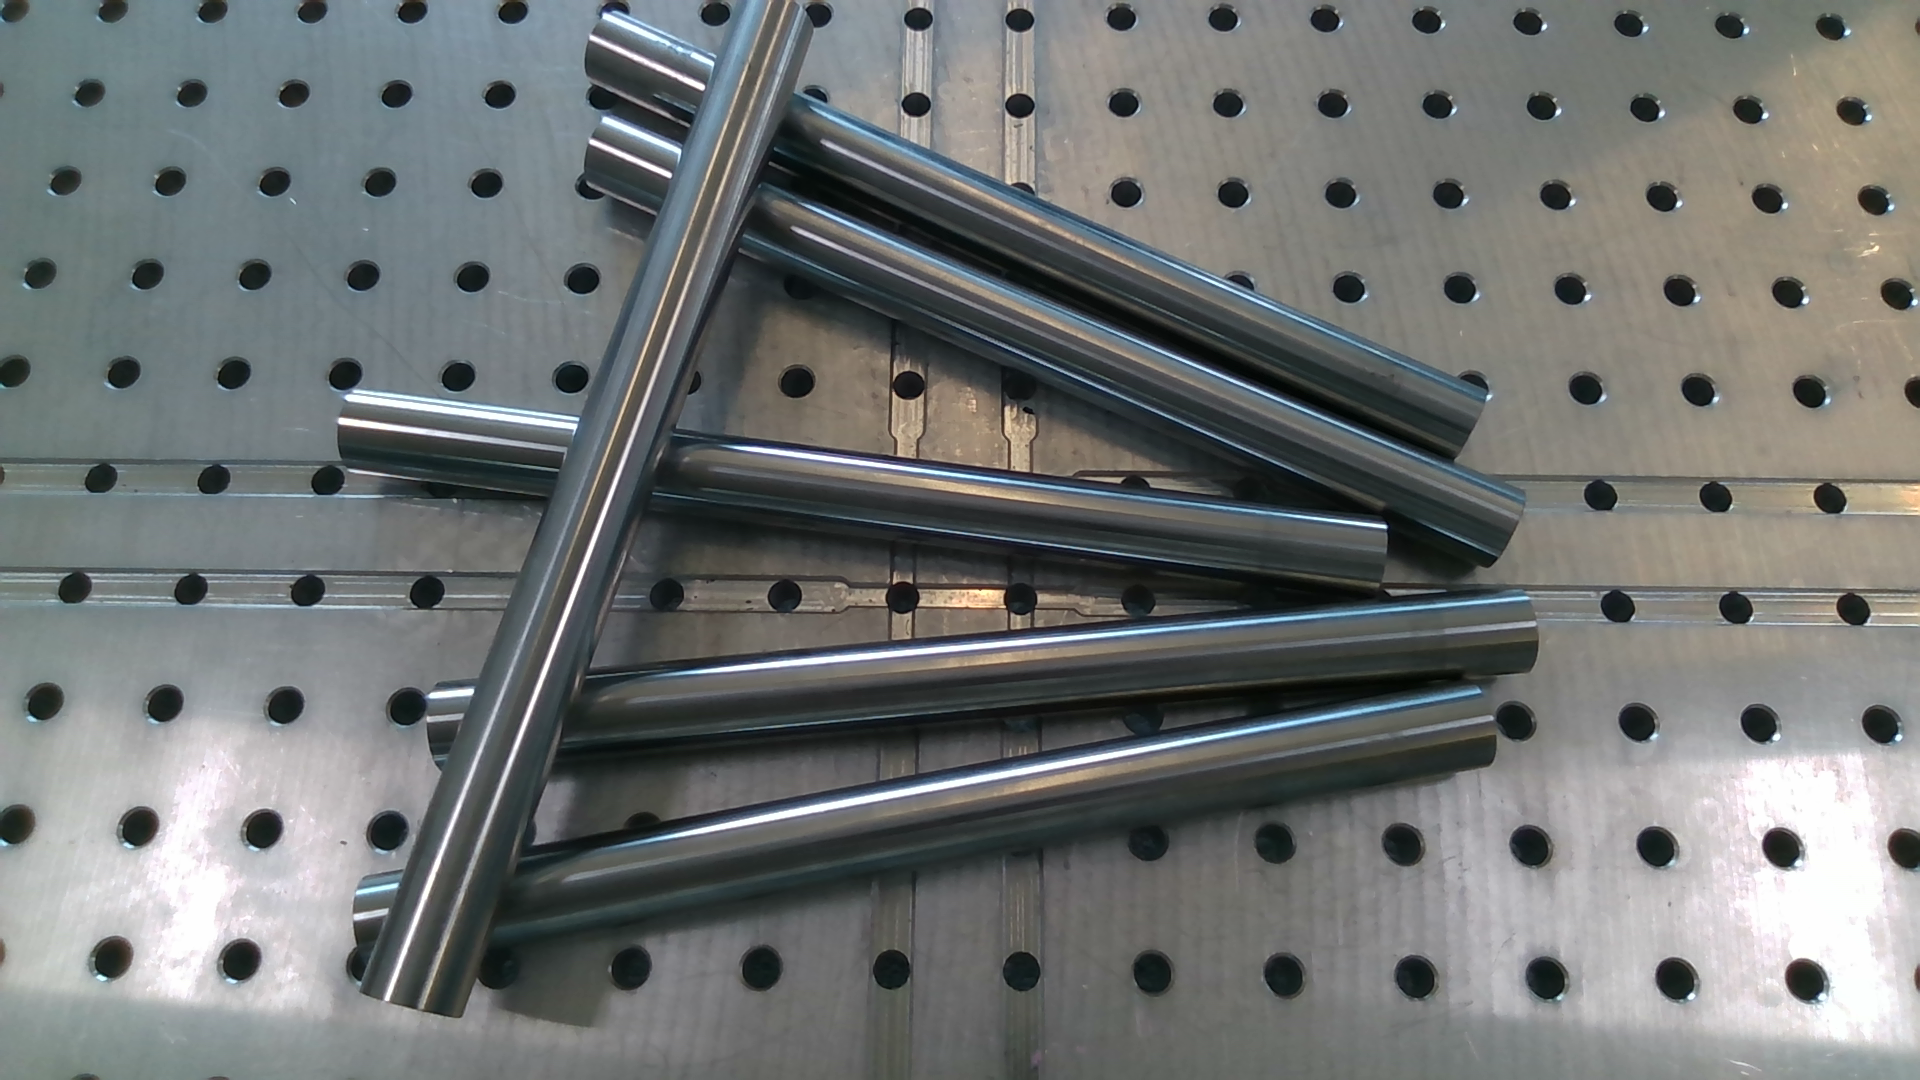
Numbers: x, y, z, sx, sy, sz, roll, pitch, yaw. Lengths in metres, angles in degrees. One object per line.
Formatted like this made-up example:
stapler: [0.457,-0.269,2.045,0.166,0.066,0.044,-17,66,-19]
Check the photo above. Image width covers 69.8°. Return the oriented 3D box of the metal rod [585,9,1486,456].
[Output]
metal rod: [0.017,-0.099,0.432,0.300,0.025,0.025,26,72,9]

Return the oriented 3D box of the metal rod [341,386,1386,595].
metal rod: [-0.030,-0.014,0.403,0.300,0.025,0.025,7,70,3]

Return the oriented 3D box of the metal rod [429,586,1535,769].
metal rod: [0.007,0.038,0.385,0.300,0.025,0.025,-5,70,-2]

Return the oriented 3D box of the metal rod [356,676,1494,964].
metal rod: [-0.006,0.074,0.371,0.300,0.025,0.025,-9,71,-3]

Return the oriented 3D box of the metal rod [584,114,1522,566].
metal rod: [0.022,-0.064,0.421,0.300,0.025,0.025,24,72,8]
